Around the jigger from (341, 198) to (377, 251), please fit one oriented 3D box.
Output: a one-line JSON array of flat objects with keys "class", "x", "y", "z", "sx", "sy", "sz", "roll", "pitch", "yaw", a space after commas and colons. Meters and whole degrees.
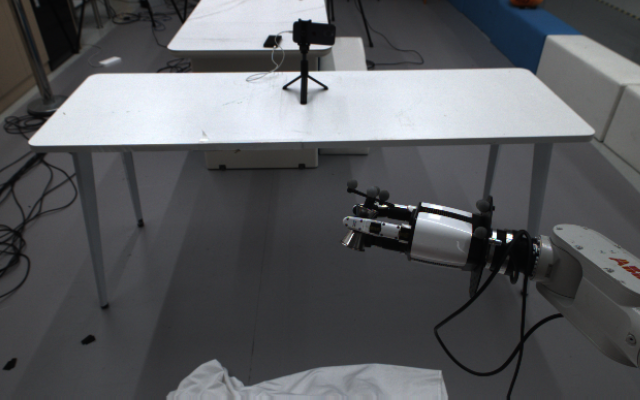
[{"class": "jigger", "x": 0.062, "y": 0.041, "z": 0.774, "sx": 0.043, "sy": 0.071, "sz": 0.043, "roll": 22, "pitch": 6, "yaw": -2}]
